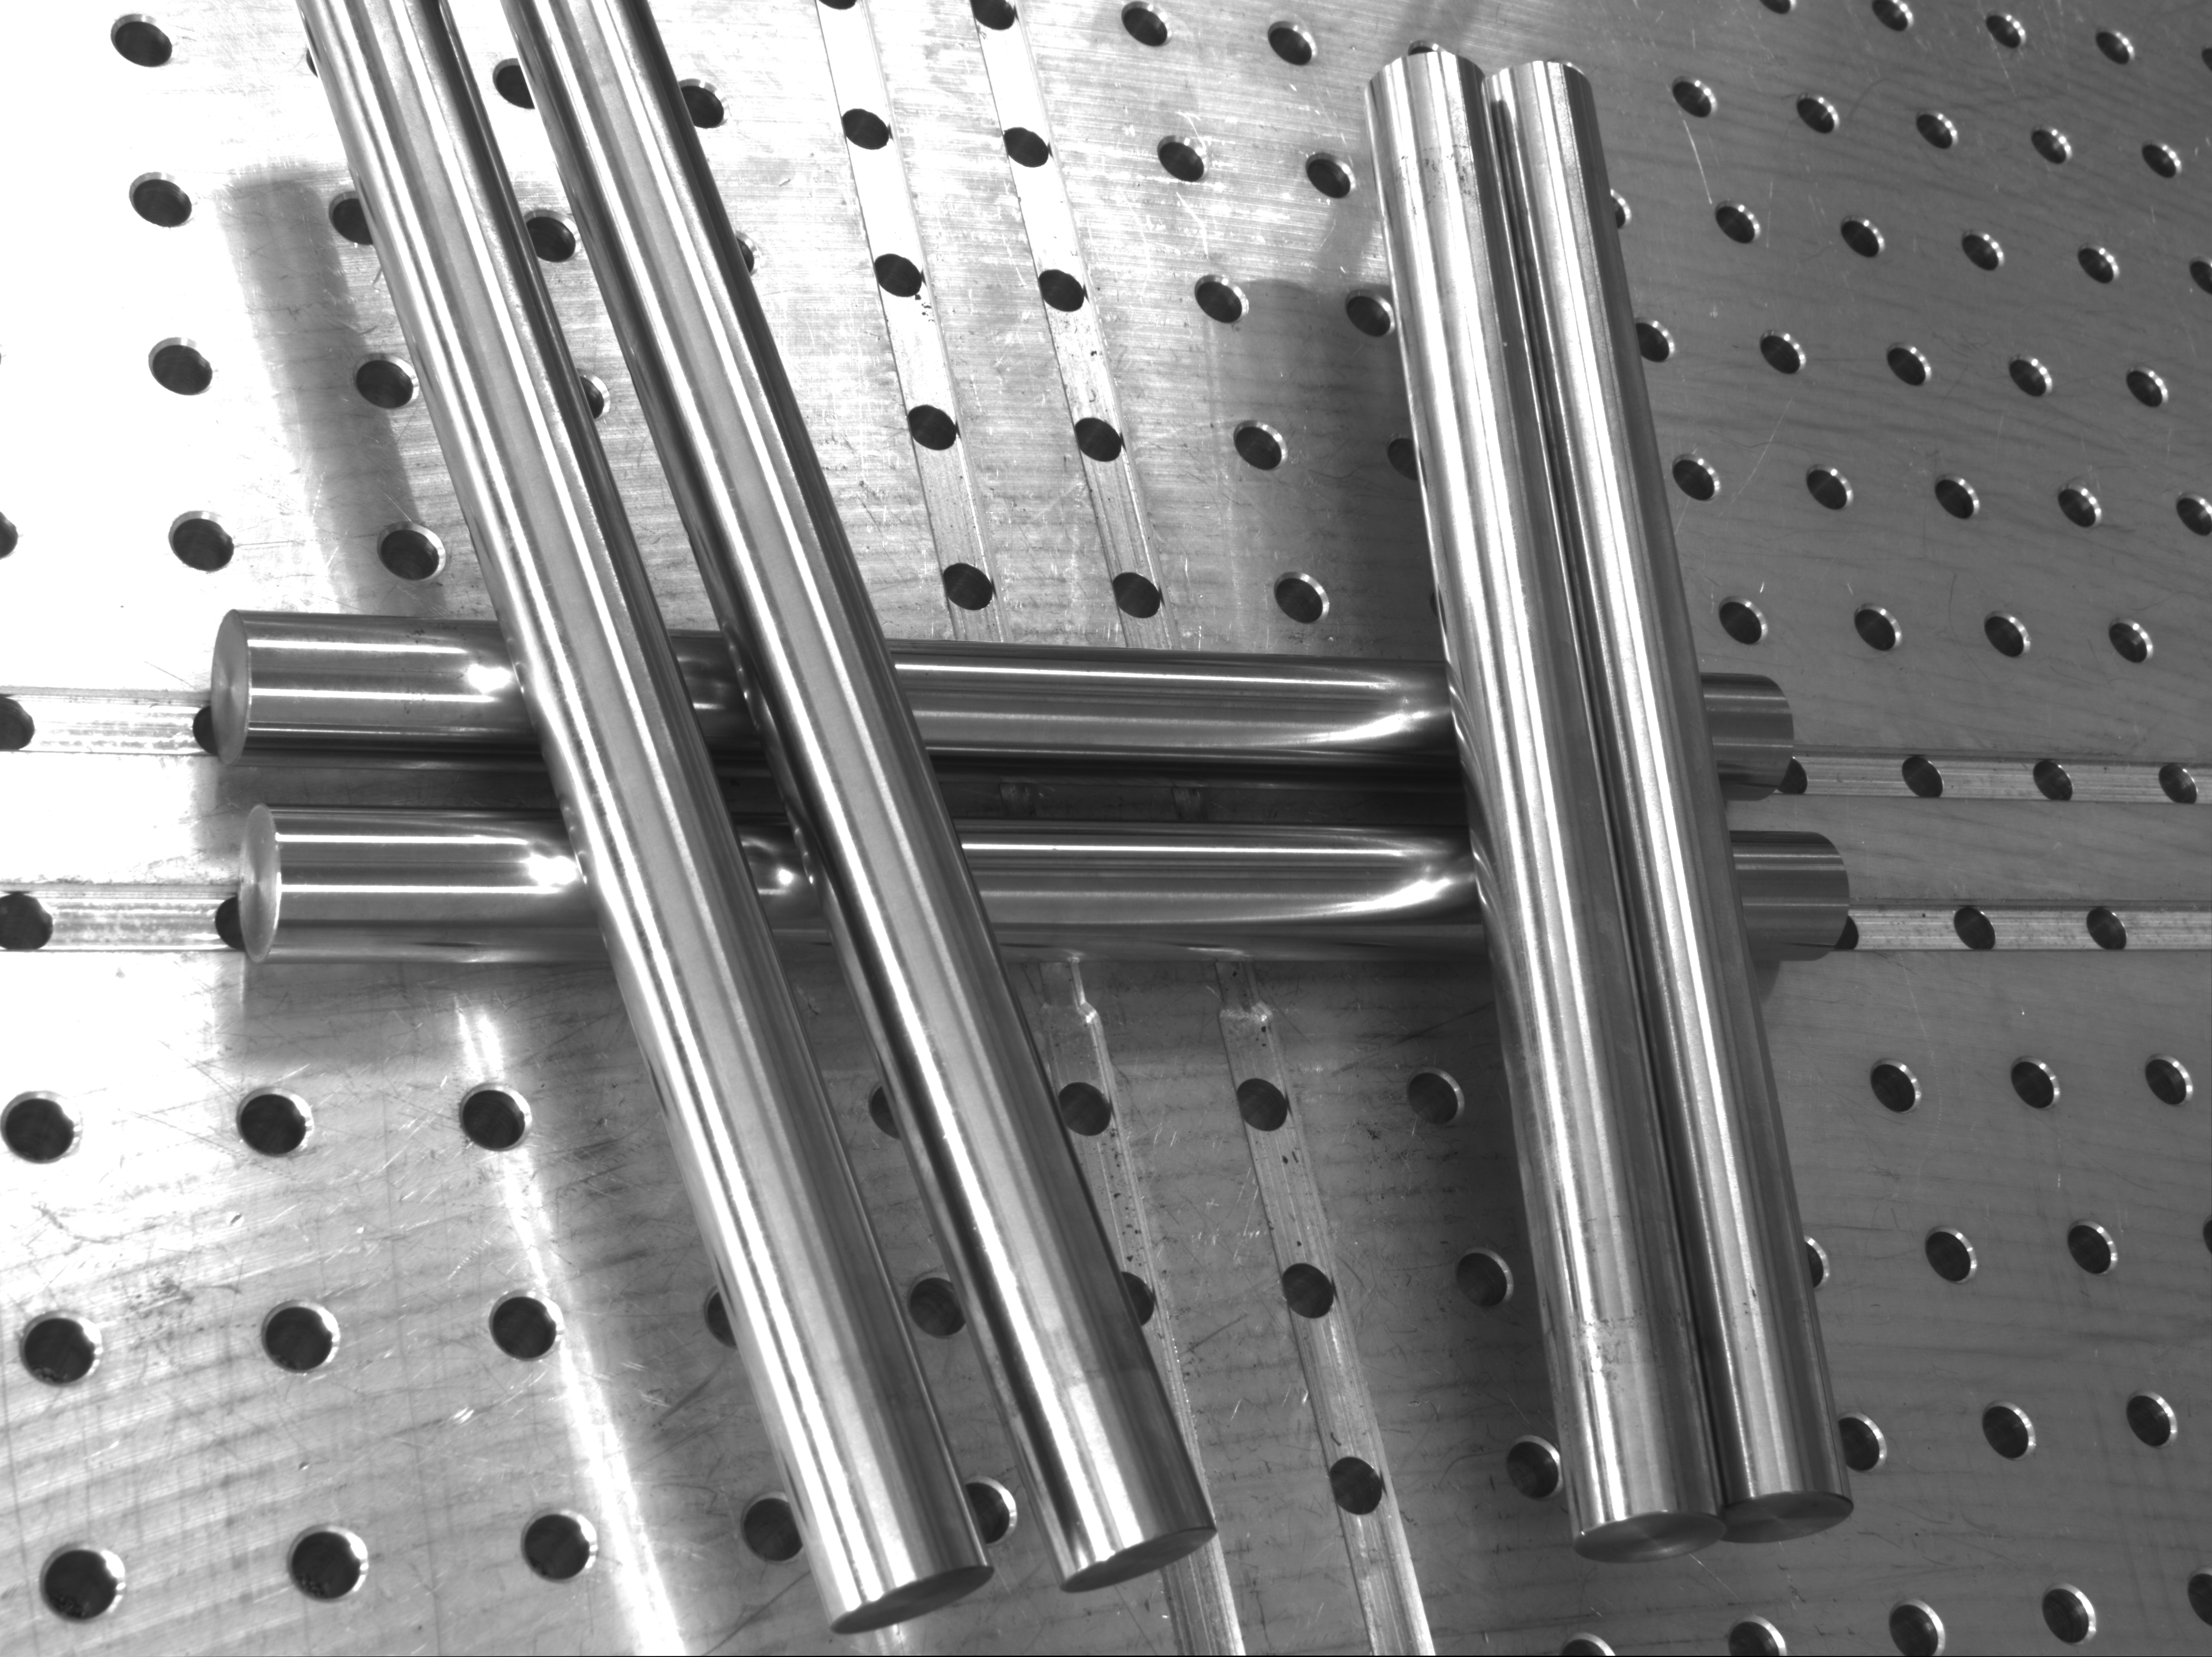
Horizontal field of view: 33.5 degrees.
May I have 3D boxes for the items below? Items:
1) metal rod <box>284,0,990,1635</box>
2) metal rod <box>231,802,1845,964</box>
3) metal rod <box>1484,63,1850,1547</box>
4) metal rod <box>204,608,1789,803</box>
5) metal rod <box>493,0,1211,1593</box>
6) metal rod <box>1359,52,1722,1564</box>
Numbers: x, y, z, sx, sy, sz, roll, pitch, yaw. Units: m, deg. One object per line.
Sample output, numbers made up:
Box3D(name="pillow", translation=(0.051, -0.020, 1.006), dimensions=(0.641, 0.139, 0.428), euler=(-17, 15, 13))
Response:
Box3D(name="metal rod", translation=(-0.080, -0.020, 0.580), dimensions=(0.025, 0.025, 0.300), euler=(-8, 66, -32))
Box3D(name="metal rod", translation=(0.001, 0.011, 0.637), dimensions=(0.301, 0.025, 0.025), euler=(1, 61, -28))
Box3D(name="metal rod", translation=(0.097, -0.017, 0.674), dimensions=(0.025, 0.025, 0.300), euler=(9, 58, -23))
Box3D(name="metal rod", translation=(-0.007, -0.020, 0.652), dimensions=(0.301, 0.025, 0.025), euler=(1, 61, -28))
Box3D(name="metal rod", translation=(-0.047, -0.022, 0.599), dimensions=(0.025, 0.025, 0.300), euler=(-8, 66, -31))
Box3D(name="metal rod", translation=(0.075, -0.016, 0.661), dimensions=(0.025, 0.025, 0.300), euler=(9, 58, -23))
